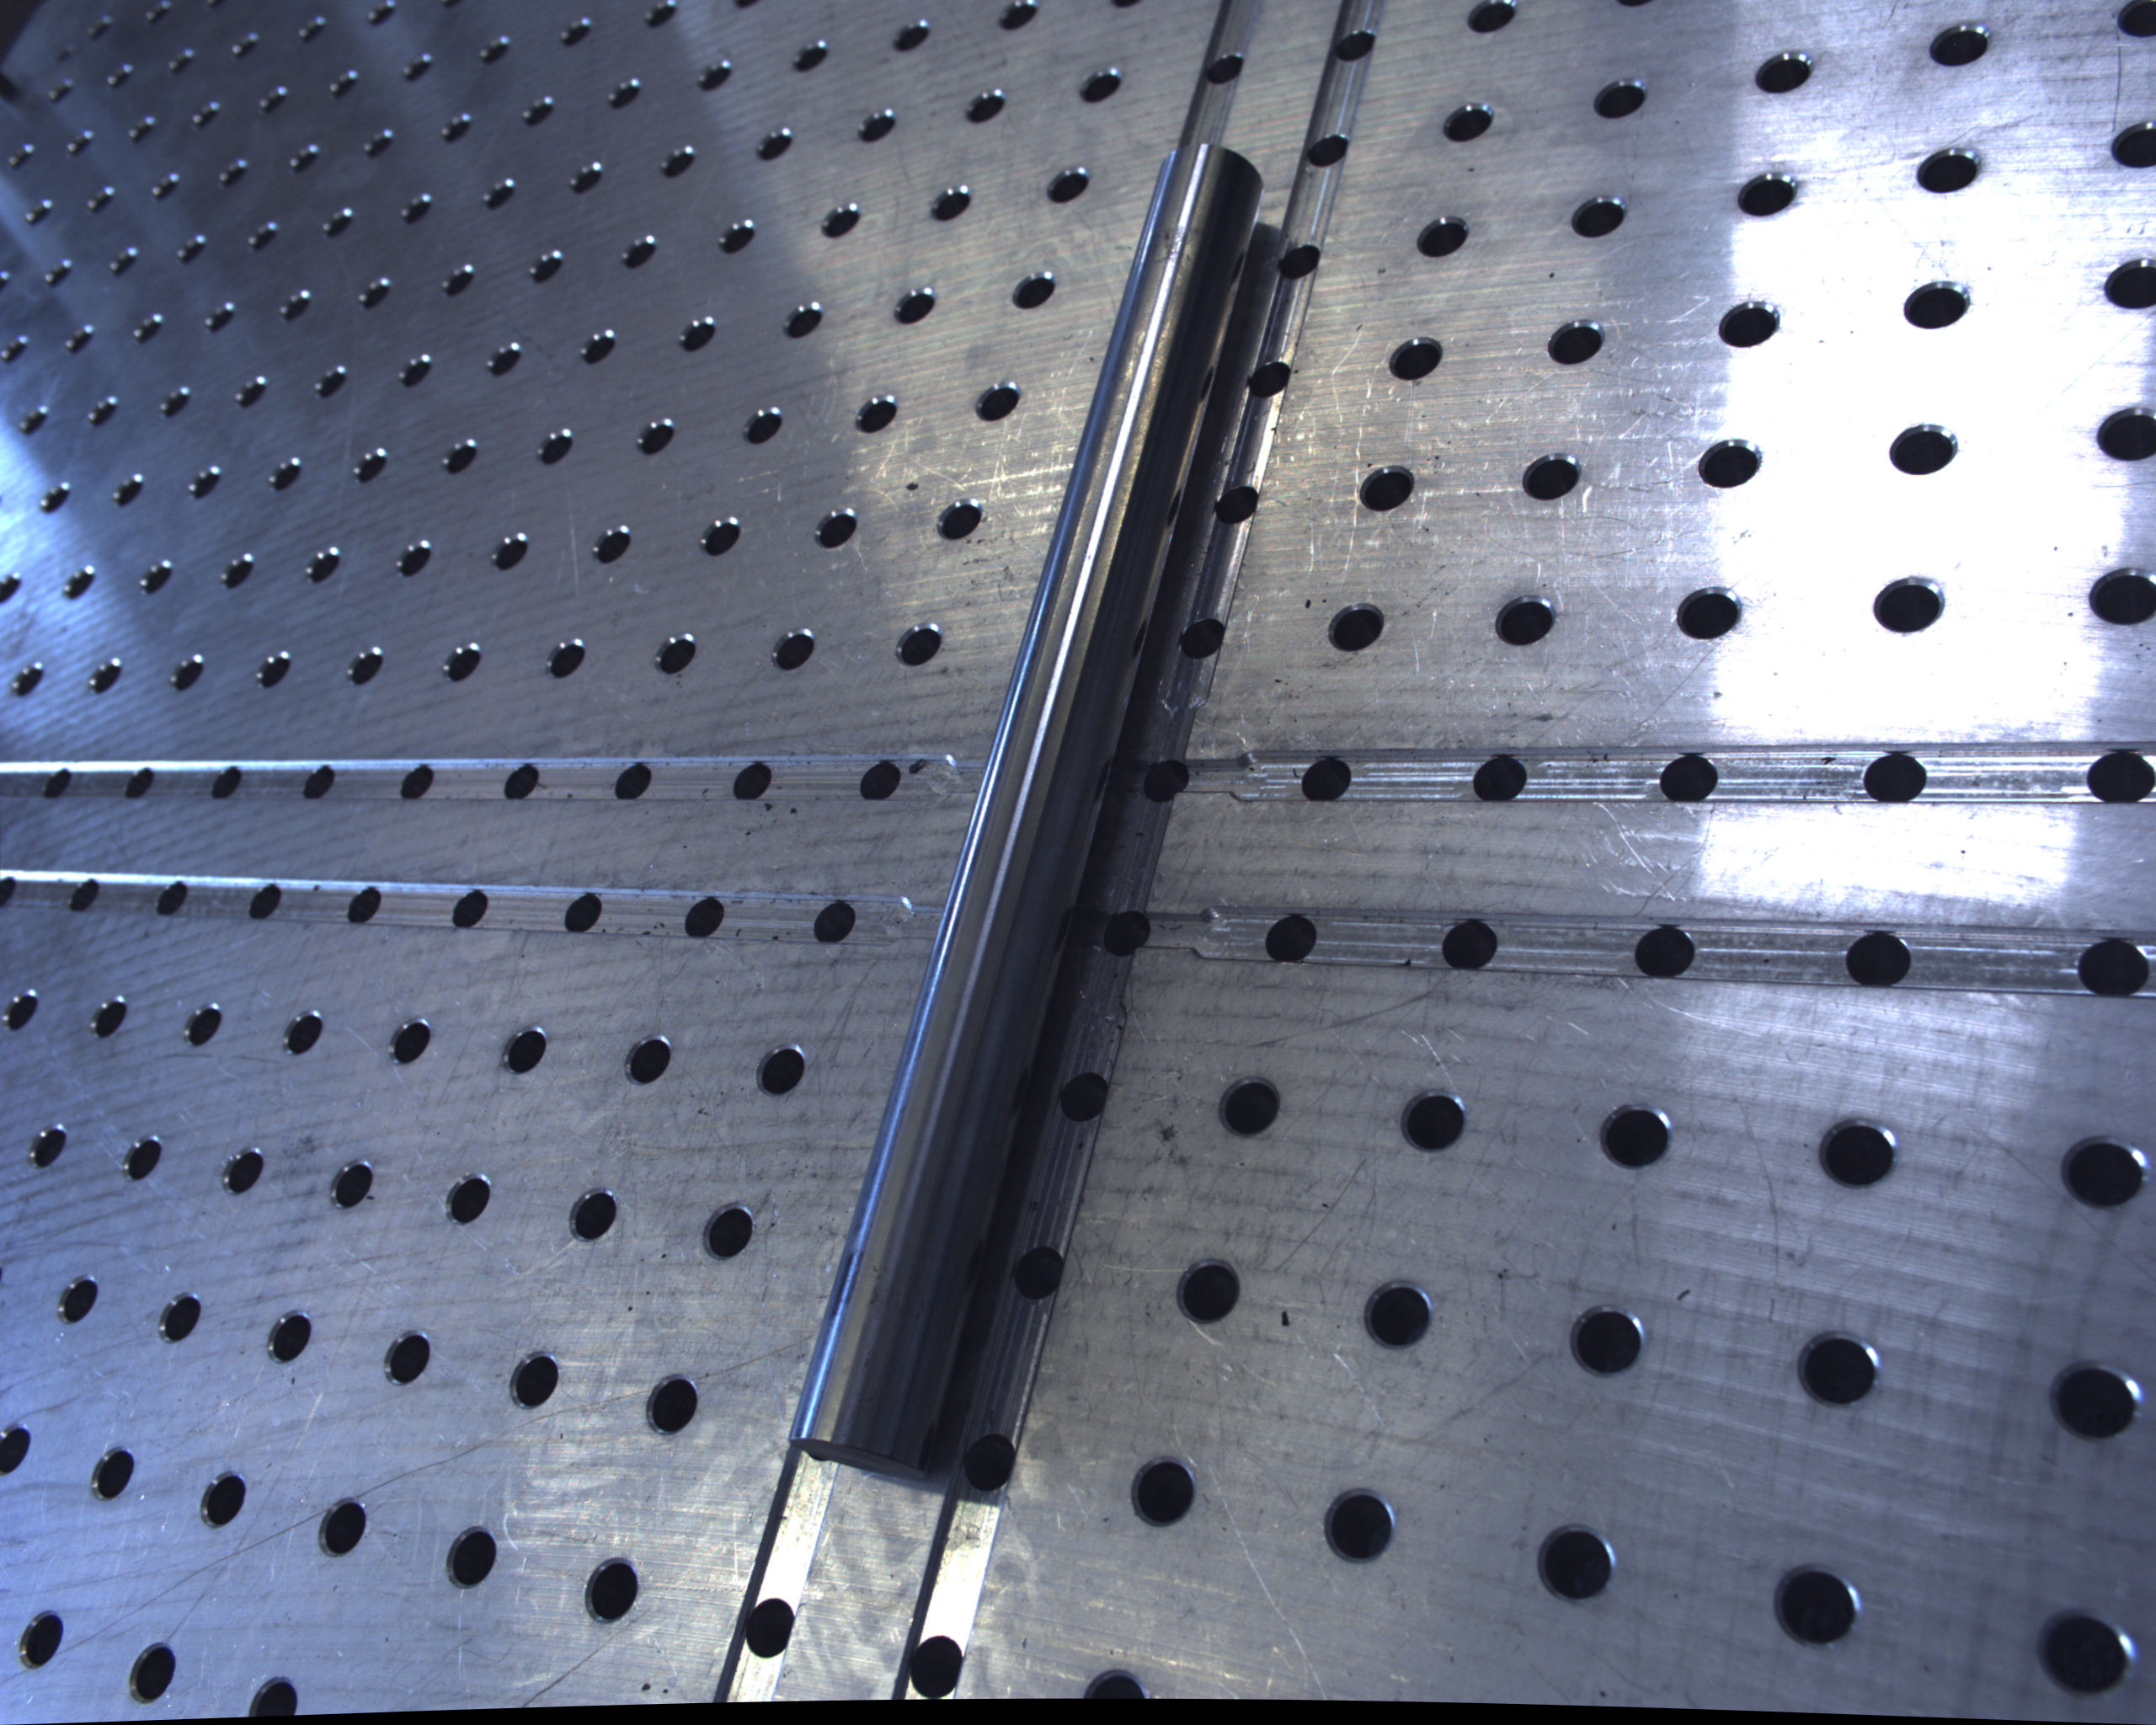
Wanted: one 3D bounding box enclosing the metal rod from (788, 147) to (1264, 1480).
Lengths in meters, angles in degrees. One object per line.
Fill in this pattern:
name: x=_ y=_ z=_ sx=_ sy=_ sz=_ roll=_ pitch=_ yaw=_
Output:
metal rod: x=-0.004 y=-0.027 z=0.428 sx=0.025 sy=0.025 sz=0.300 roll=1 pitch=62 yaw=28
